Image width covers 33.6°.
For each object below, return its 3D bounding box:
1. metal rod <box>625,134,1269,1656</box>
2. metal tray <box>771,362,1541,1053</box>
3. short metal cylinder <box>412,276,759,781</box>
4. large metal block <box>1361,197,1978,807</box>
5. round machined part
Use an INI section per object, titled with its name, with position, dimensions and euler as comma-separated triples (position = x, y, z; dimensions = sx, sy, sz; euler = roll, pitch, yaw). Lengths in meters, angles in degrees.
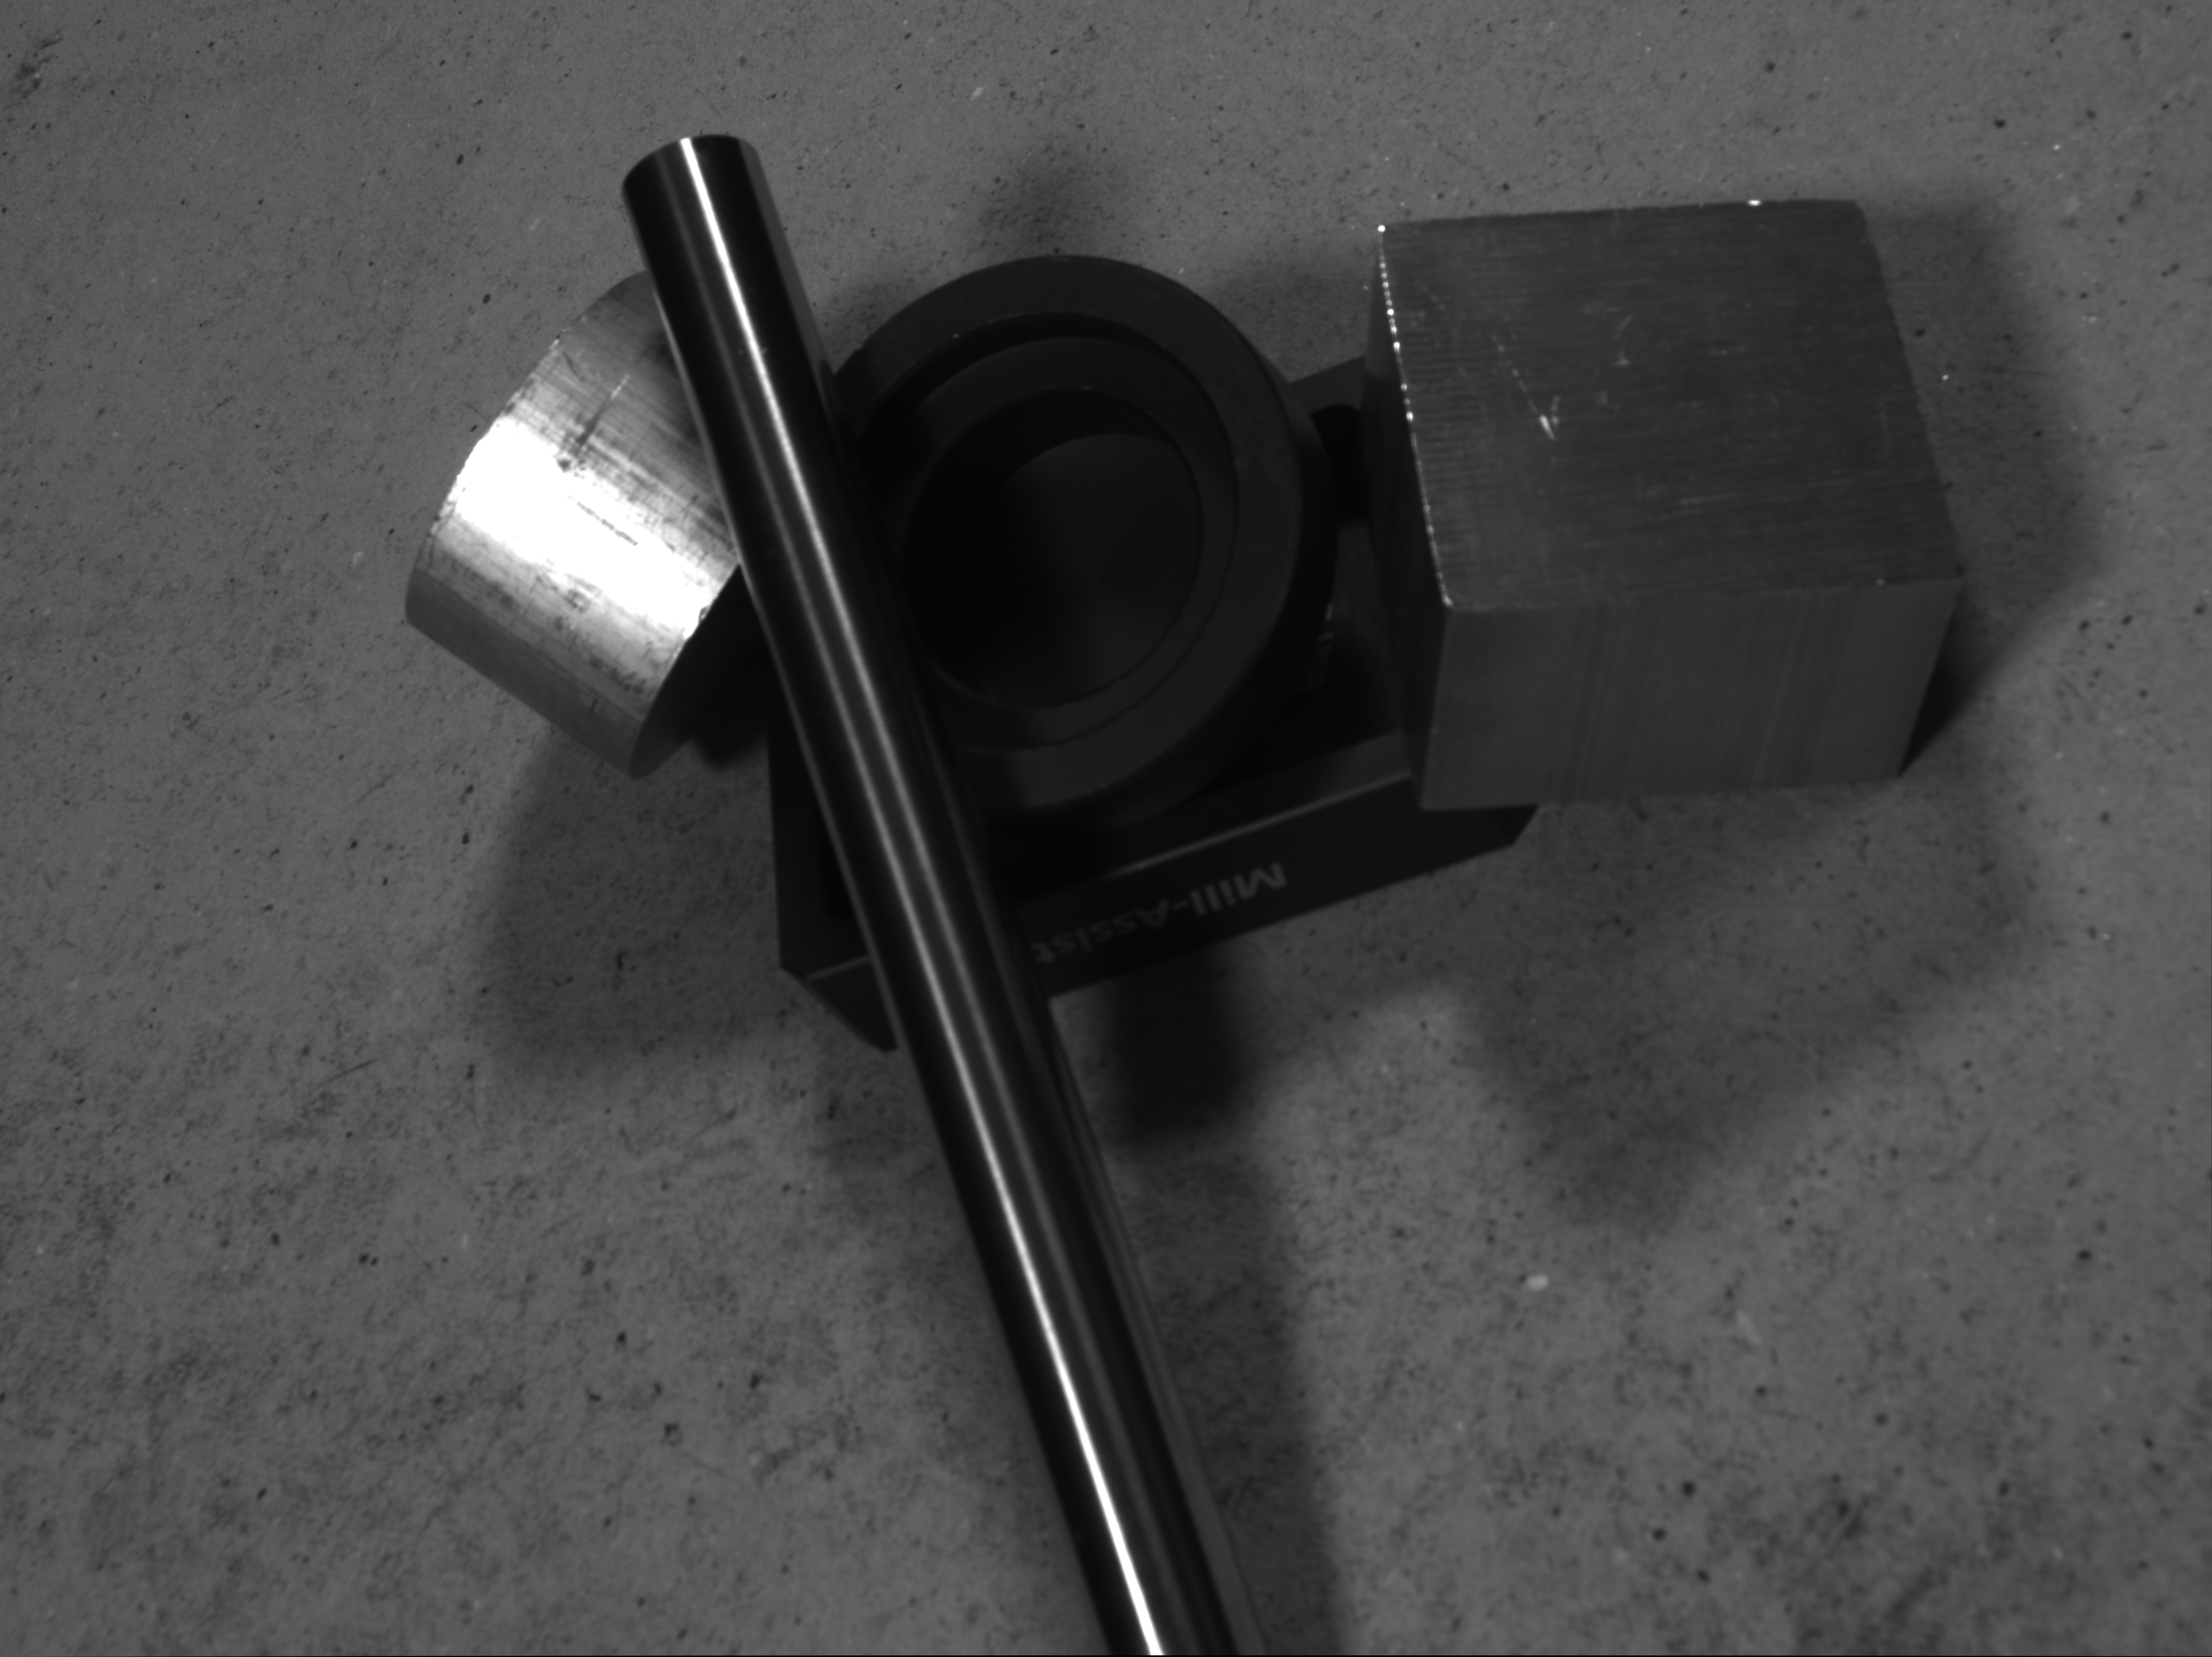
[metal rod]
position = -0.025, 0.019, 0.589
dimensions = 0.025, 0.025, 0.300
euler = -24, 70, 13
[metal tray]
position = 0.005, -0.022, 0.652
dimensions = 0.130, 0.030, 0.090
euler = -19, 54, 17
[short metal cylinder]
position = -0.084, -0.056, 0.680
dimensions = 0.050, 0.080, 0.080
euler = 35, 79, 2
[large metal block]
position = 0.088, -0.053, 0.592
dimensions = 0.080, 0.050, 0.080
euler = -4, 56, -4
[round machined part]
position = -0.005, -0.046, 0.634
dimensions = 0.098, 0.042, 0.098
euler = -6, 74, 22
